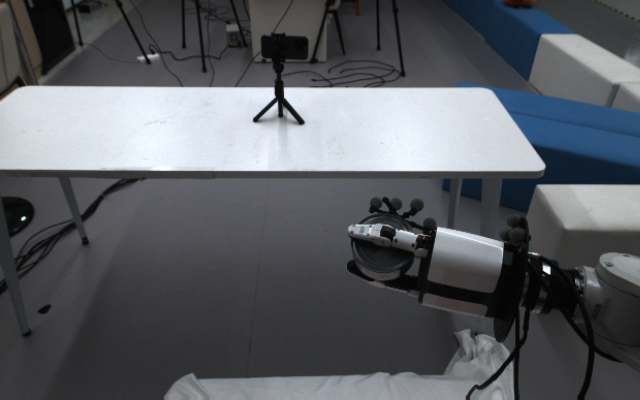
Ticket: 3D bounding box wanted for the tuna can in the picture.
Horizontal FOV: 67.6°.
[{"bbox_3d":[0.087,0.060,0.643,0.085,0.034,0.085,-4,56,6],"label":"tuna can"}]
